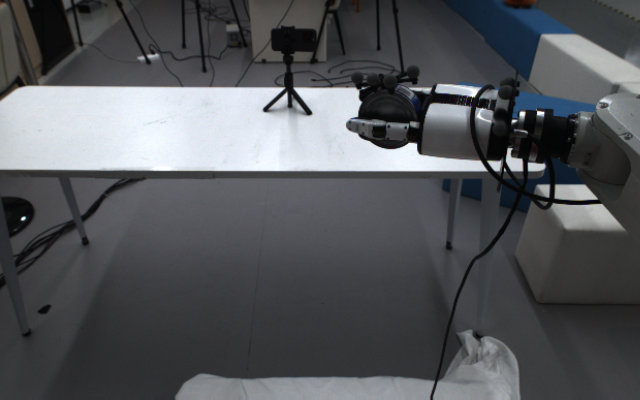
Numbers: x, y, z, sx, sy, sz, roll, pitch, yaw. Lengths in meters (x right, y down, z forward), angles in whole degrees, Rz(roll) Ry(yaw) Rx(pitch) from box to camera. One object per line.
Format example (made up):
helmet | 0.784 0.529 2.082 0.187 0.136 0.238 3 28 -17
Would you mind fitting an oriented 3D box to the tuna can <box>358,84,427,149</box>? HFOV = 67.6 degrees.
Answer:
tuna can | 0.100 -0.118 0.676 0.085 0.085 0.034 17 36 20
